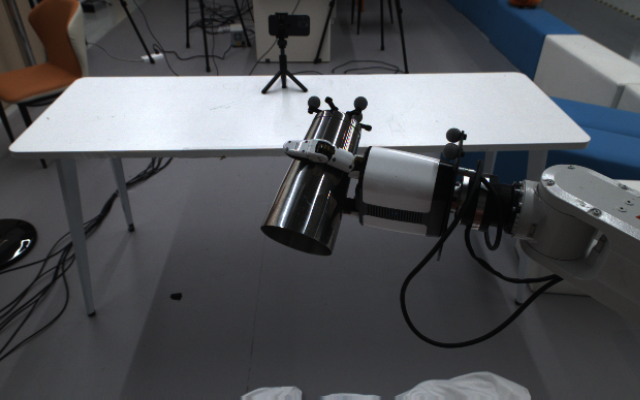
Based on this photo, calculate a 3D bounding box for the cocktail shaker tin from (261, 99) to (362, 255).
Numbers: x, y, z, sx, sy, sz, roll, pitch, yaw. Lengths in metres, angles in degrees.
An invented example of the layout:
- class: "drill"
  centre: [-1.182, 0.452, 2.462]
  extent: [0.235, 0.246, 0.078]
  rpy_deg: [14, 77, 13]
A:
- class: "cocktail shaker tin"
  centre: [-0.002, -0.025, 0.613]
  extent: [0.093, 0.093, 0.170]
  rpy_deg: [13, 70, 15]
